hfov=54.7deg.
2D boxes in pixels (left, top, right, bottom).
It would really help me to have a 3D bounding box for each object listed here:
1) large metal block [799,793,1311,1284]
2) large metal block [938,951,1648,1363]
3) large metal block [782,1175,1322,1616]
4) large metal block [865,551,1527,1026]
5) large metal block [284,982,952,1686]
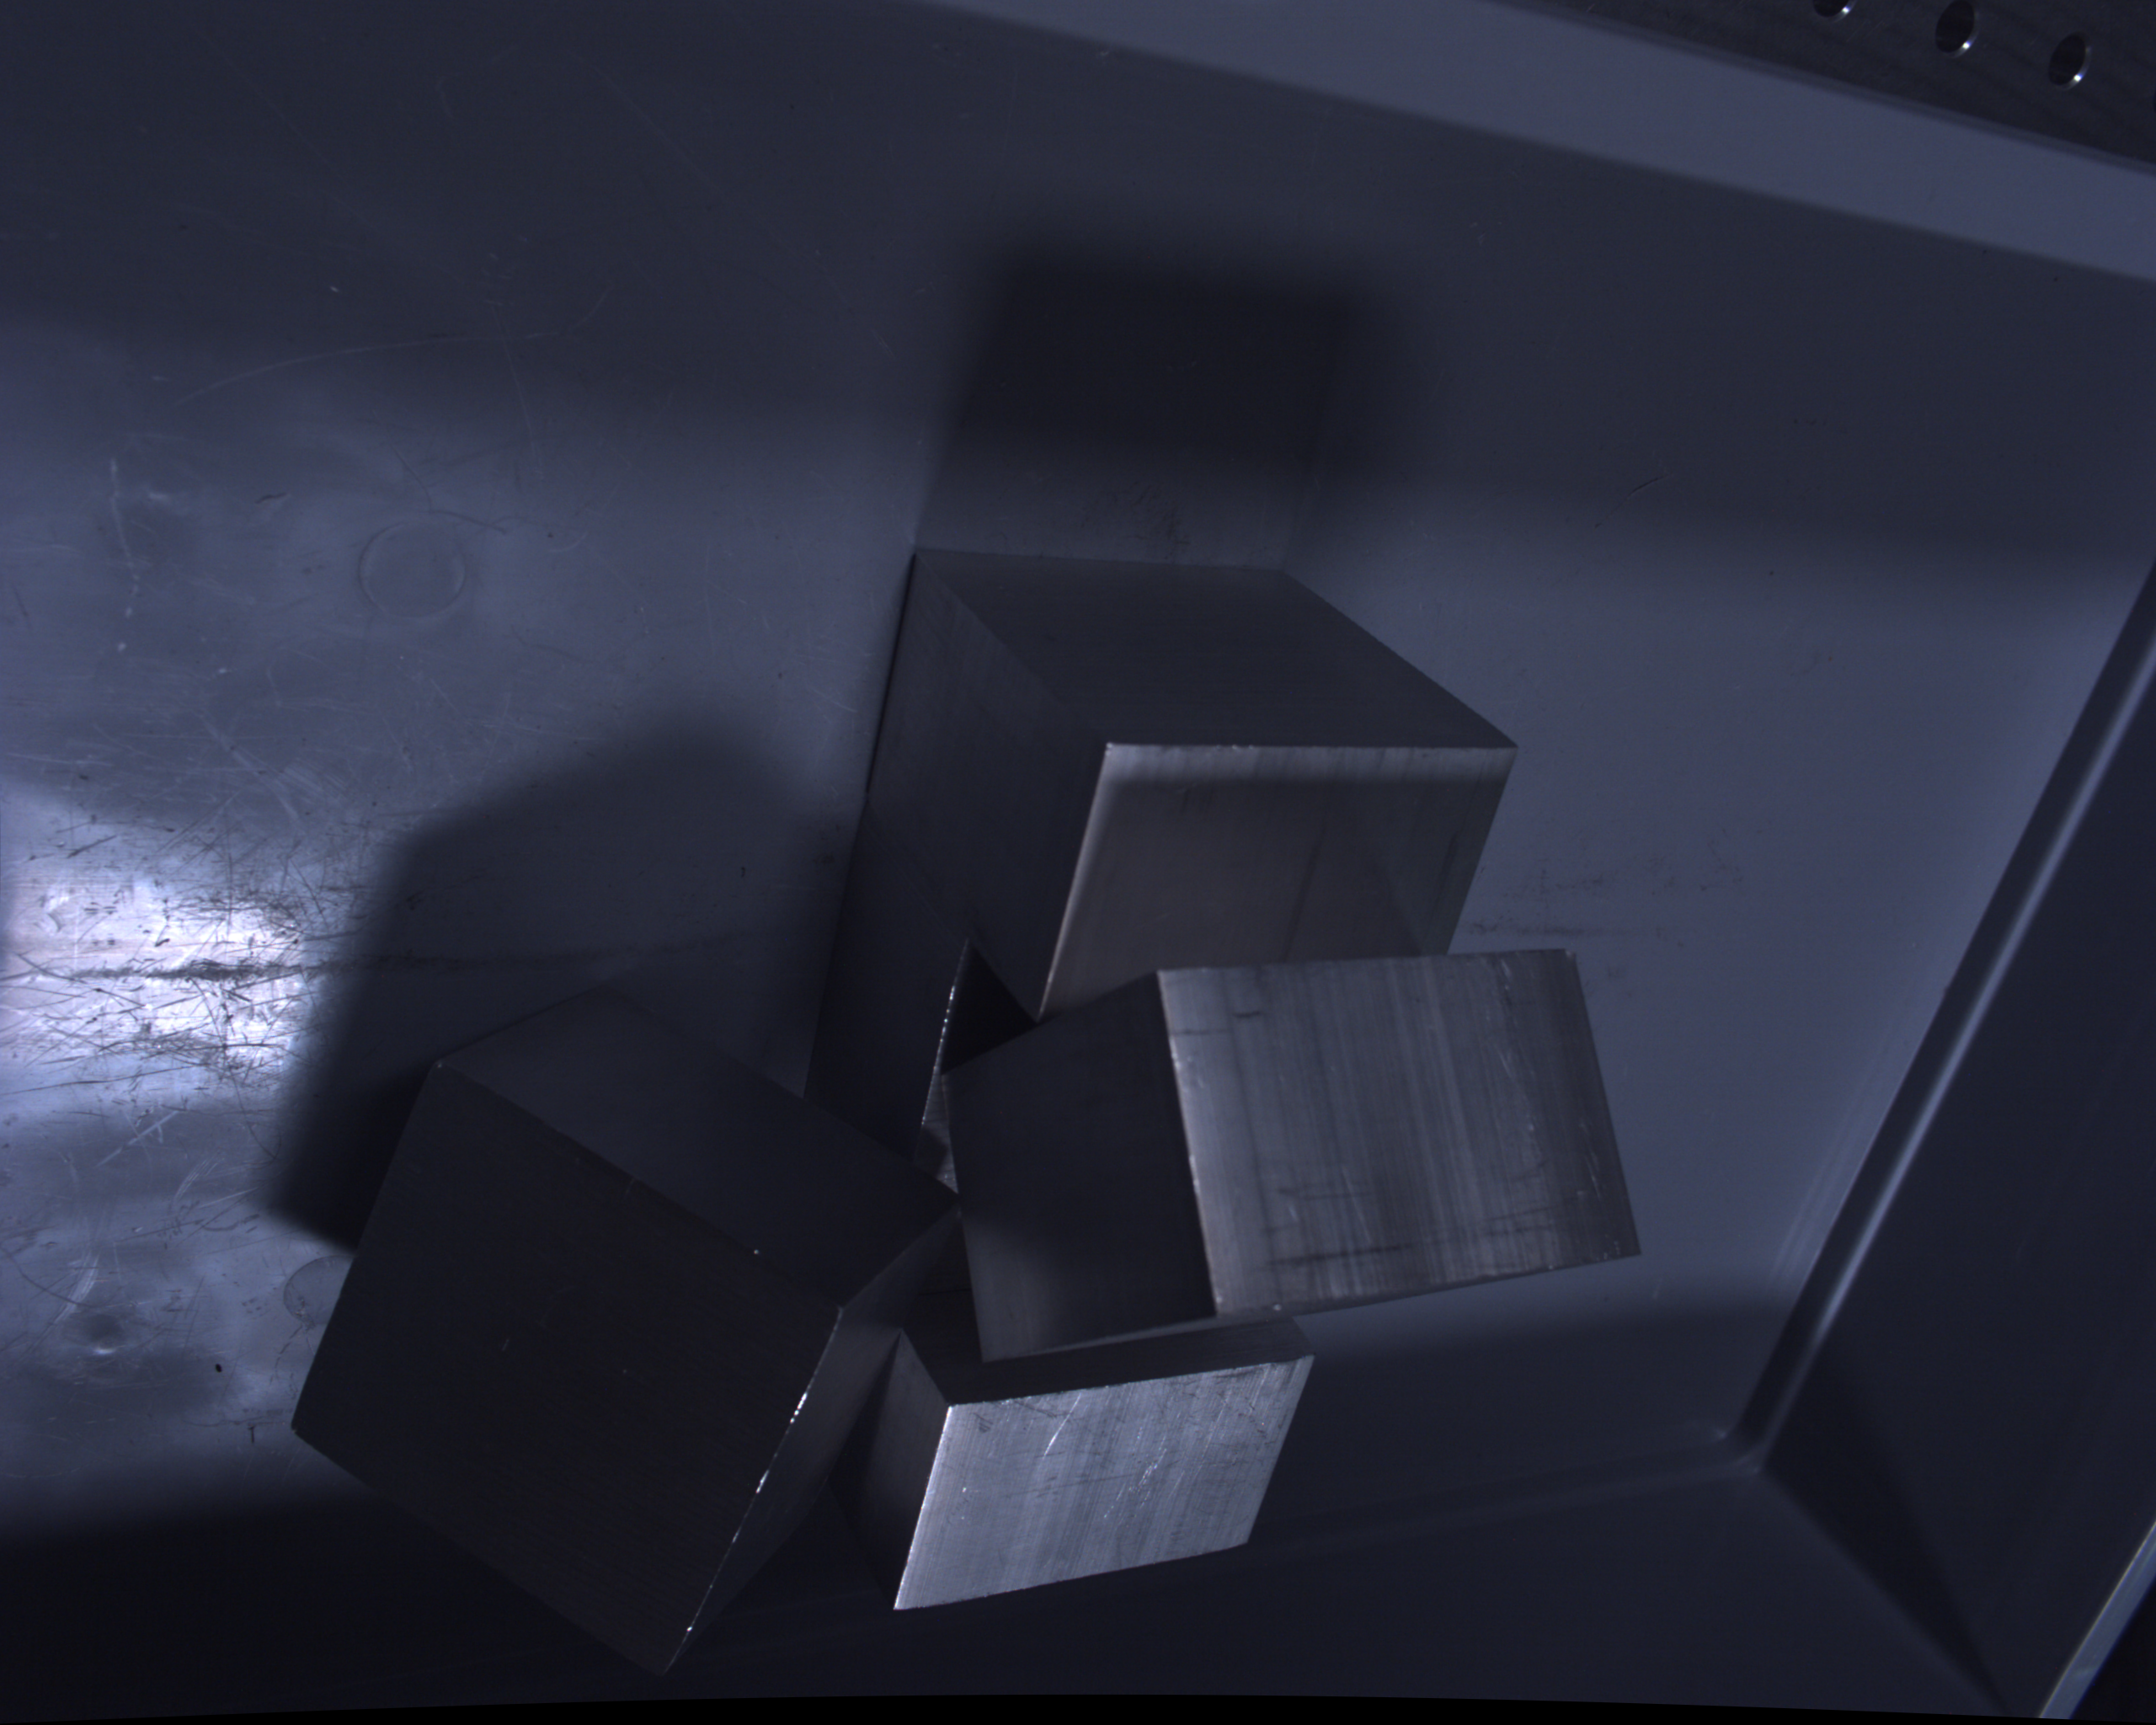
[{"bbox_3d":[-0.005,0.033,0.412,0.081,0.050,0.079,-1,119,-29],"label":"large metal block"},{"bbox_3d":[0.032,0.050,0.349,0.081,0.080,0.050,-1,74,-29],"label":"large metal block"},{"bbox_3d":[-0.011,0.099,0.427,0.081,0.080,0.050,0,118,-29],"label":"large metal block"},{"bbox_3d":[0.017,-0.016,0.371,0.081,0.080,0.050,-1,119,-28],"label":"large metal block"},{"bbox_3d":[-0.080,0.080,0.368,0.079,0.080,0.050,-64,169,18],"label":"large metal block"}]
